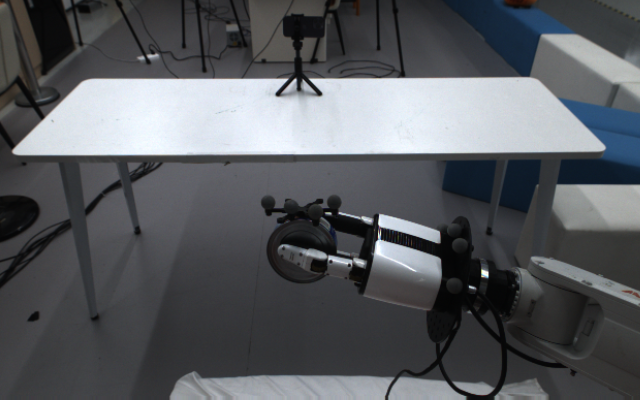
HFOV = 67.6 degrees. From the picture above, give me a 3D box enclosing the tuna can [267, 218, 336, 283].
[{"bbox_3d":[-0.018,0.063,0.596,0.085,0.085,0.034,4,18,3],"label":"tuna can"}]
